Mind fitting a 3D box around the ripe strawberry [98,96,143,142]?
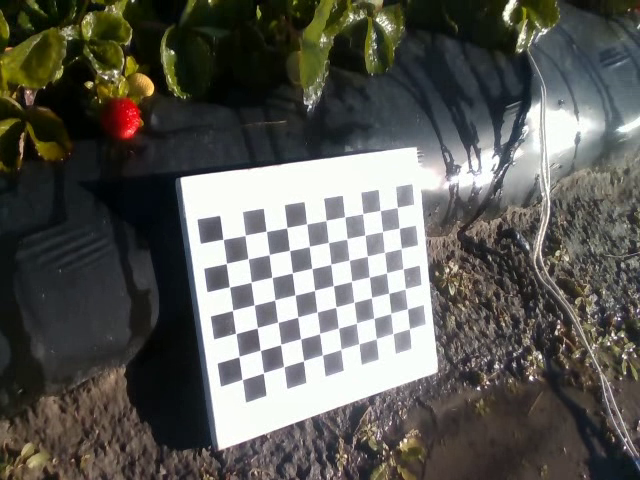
[{"bbox_3d":[-0.140,-0.081,0.460,0.039,0.040,0.039,-19,39,-17],"label":"ripe strawberry"}]
